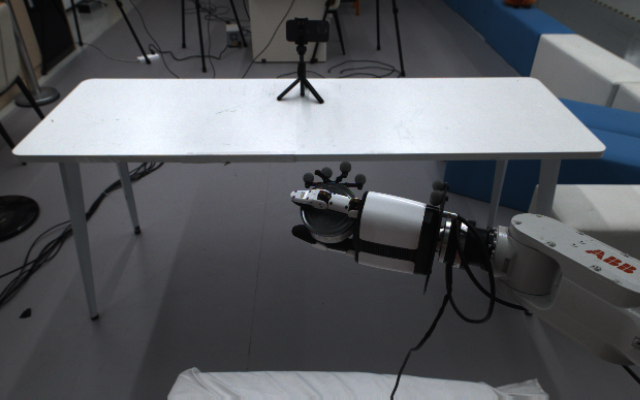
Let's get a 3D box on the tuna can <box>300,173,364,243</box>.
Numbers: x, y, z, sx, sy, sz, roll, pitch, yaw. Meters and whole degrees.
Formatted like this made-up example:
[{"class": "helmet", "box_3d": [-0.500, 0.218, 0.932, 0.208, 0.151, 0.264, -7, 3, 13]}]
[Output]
[{"class": "tuna can", "box_3d": [0.016, 0.019, 0.711, 0.085, 0.034, 0.085, -4, 61, 7]}]
